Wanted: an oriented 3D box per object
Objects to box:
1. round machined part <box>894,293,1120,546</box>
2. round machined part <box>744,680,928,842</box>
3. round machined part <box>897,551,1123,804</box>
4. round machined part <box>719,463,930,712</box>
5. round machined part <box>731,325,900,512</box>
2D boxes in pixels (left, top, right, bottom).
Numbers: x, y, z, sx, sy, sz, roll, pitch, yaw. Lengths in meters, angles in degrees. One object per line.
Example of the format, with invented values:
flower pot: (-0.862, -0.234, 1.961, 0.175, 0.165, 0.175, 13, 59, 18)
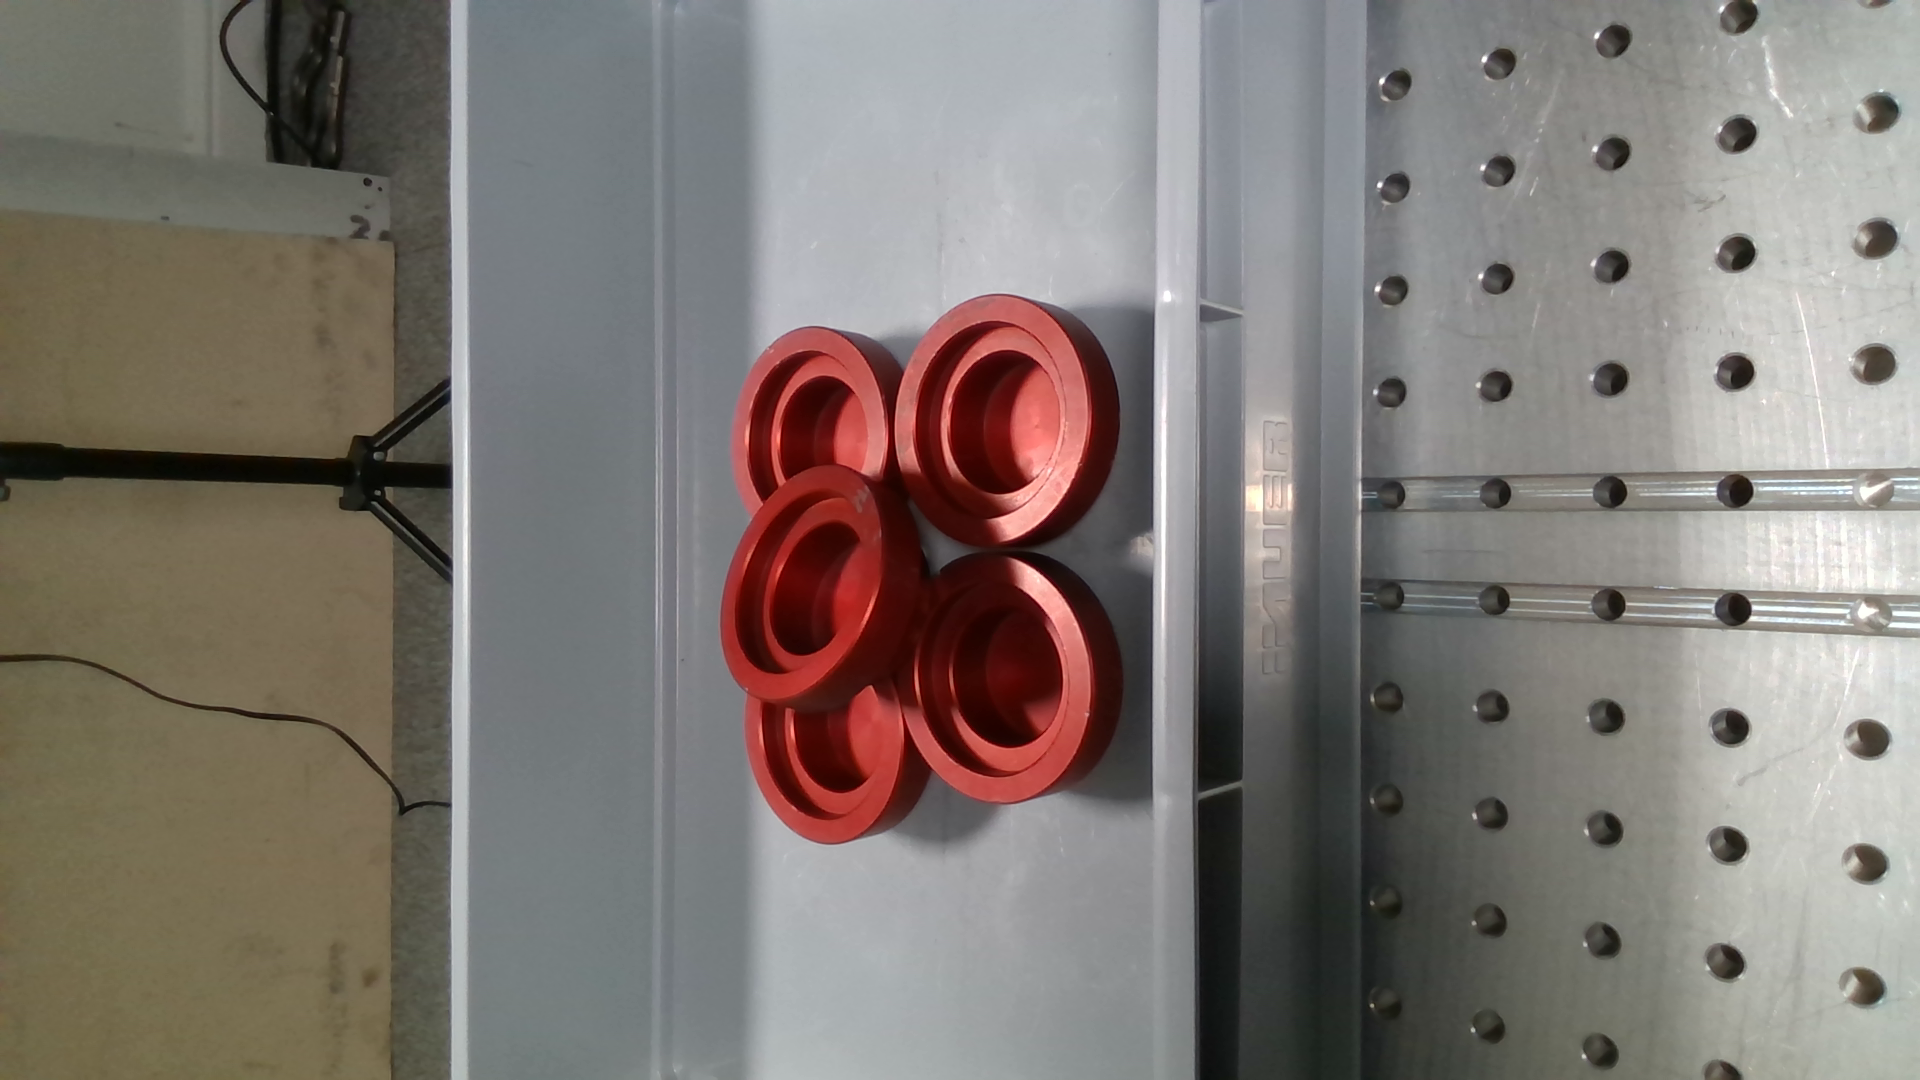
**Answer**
round machined part: (0.023, -0.046, 0.549, 0.098, 0.042, 0.098, 0, 91, 40)
round machined part: (-0.048, 0.082, 0.611, 0.098, 0.042, 0.098, 0, 91, 40)
round machined part: (0.024, 0.053, 0.549, 0.098, 0.042, 0.098, 0, 91, 40)
round machined part: (-0.051, 0.022, 0.556, 0.098, 0.042, 0.098, -21, 58, 38)
round machined part: (-0.055, -0.045, 0.615, 0.098, 0.042, 0.098, 0, 91, 40)
